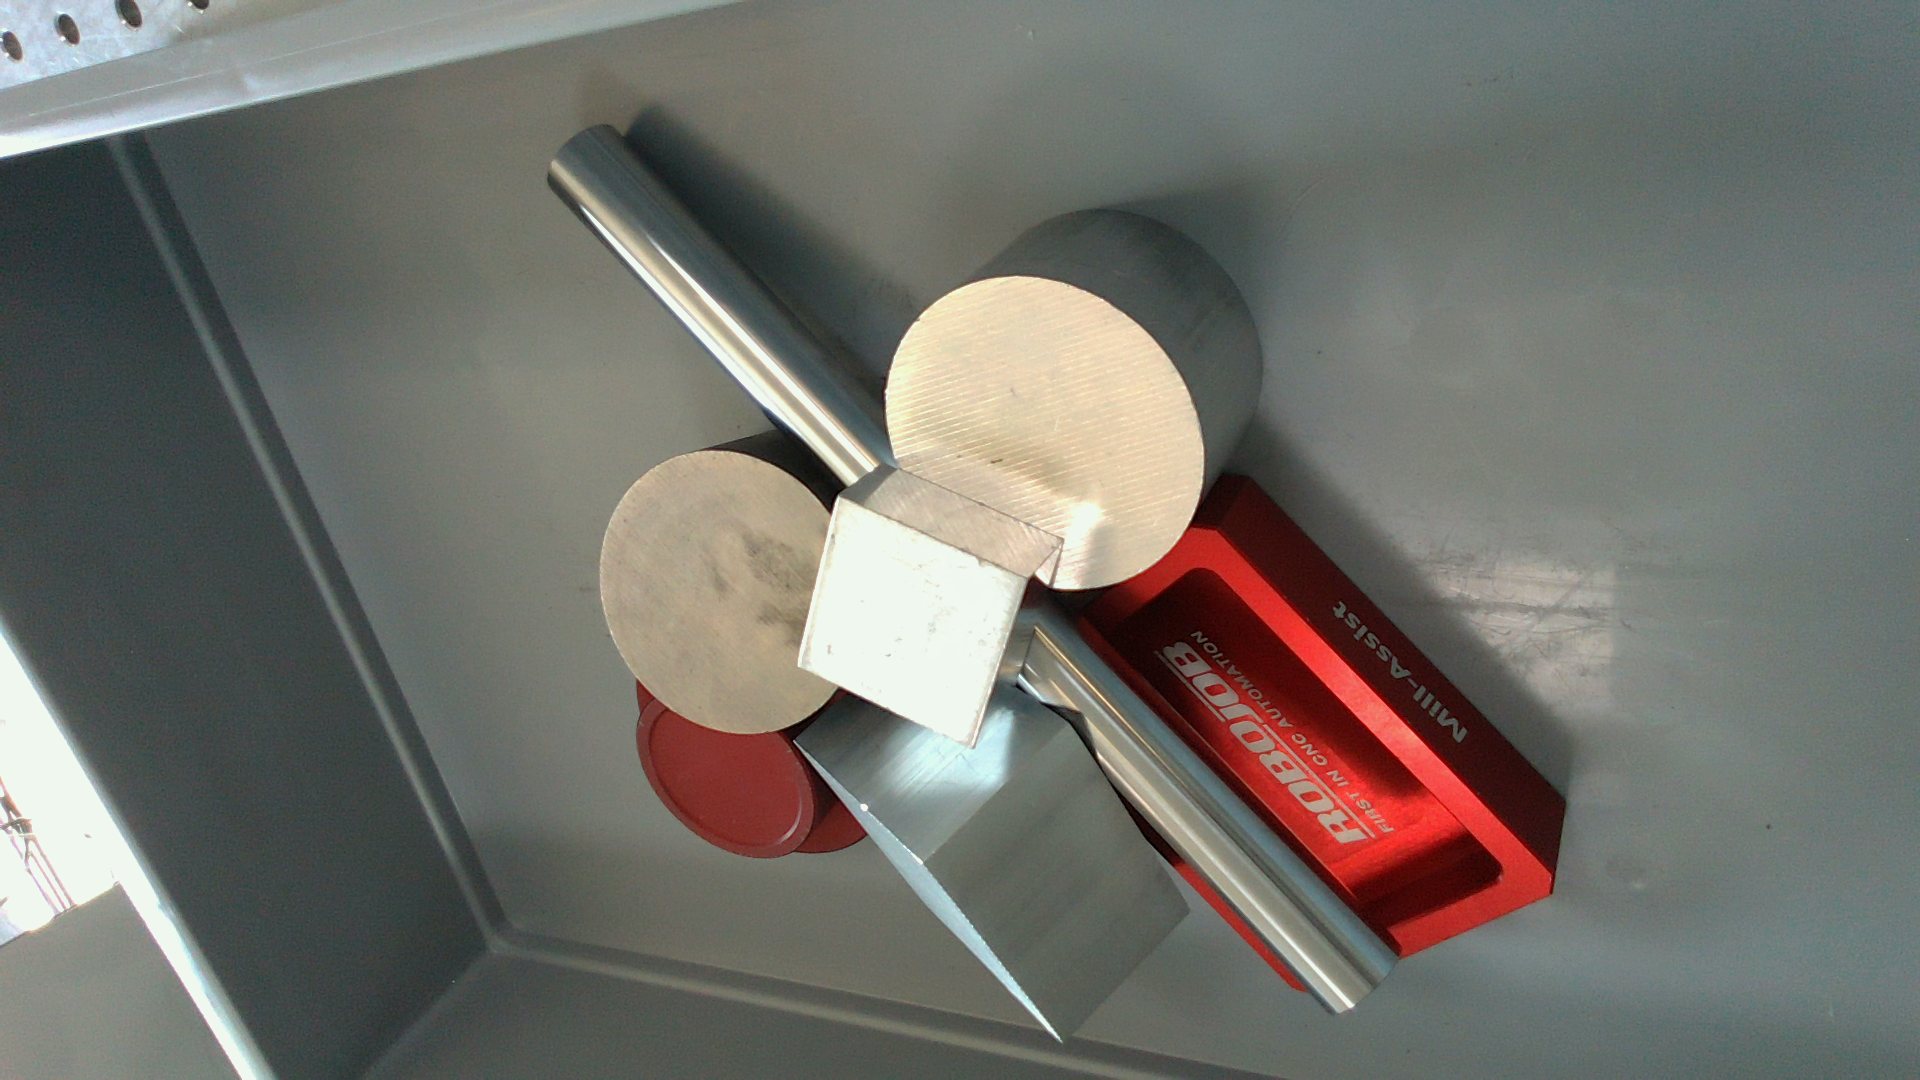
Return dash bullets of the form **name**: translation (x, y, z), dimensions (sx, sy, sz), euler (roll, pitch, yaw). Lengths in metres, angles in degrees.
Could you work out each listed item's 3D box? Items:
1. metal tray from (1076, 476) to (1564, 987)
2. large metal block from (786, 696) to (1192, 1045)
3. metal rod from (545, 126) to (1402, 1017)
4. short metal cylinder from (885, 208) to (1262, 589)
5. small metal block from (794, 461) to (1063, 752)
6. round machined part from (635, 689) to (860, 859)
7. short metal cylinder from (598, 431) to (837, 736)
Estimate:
- **metal tray**: translation (0.085, 0.057, 0.377), dimensions (0.130, 0.030, 0.090), euler (45, 129, -3)
- **large metal block**: translation (0.007, 0.080, 0.387), dimensions (0.080, 0.050, 0.080), euler (27, 154, 56)
- **metal rod**: translation (-0.002, 0.002, 0.362), dimensions (0.300, 0.025, 0.025), euler (46, 130, 8)
- **short metal cylinder**: translation (0.029, -0.035, 0.339), dimensions (0.080, 0.050, 0.080), euler (13, 124, 21)
- **small metal block**: translation (-0.008, 0.016, 0.337), dimensions (0.050, 0.025, 0.050), euler (24, 119, 14)
- **round machined part**: translation (-0.068, 0.066, 0.457), dimensions (0.098, 0.042, 0.098), euler (13, 124, 21)
- **short metal cylinder**: translation (-0.056, 0.010, 0.397), dimensions (0.080, 0.050, 0.080), euler (4, 103, 19)
